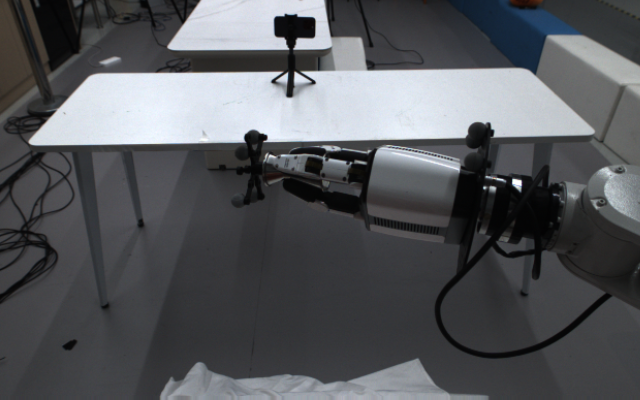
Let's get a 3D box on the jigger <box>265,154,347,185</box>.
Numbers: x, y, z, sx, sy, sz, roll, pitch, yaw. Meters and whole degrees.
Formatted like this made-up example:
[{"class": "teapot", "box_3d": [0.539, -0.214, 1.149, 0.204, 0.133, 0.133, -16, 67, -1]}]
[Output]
[{"class": "jigger", "box_3d": [-0.018, -0.035, 0.538, 0.071, 0.043, 0.043, 4, 34, 14]}]
